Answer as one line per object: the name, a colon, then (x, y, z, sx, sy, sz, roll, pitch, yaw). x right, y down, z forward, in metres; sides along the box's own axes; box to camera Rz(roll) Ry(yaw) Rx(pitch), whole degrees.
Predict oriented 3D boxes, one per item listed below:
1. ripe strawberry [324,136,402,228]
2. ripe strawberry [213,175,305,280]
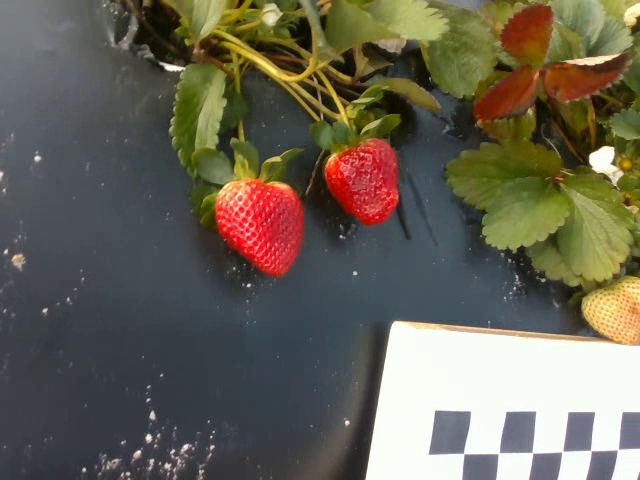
ripe strawberry: (0.028, -0.033, 0.302, 0.042, 0.053, 0.034, -9, -26, -18)
ripe strawberry: (-0.026, -0.006, 0.273, 0.050, 0.061, 0.045, -4, -31, -19)
